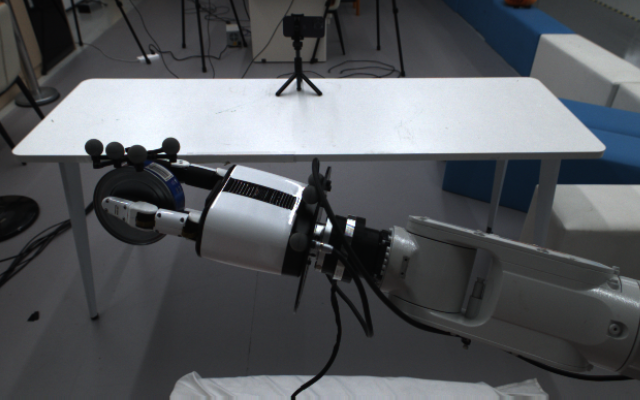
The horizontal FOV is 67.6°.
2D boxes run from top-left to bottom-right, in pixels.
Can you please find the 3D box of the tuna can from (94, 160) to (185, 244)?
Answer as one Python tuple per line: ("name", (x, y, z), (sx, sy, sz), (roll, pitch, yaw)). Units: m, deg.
("tuna can", (-0.183, 0.003, 0.507), (0.085, 0.085, 0.034), (4, 18, 3))
